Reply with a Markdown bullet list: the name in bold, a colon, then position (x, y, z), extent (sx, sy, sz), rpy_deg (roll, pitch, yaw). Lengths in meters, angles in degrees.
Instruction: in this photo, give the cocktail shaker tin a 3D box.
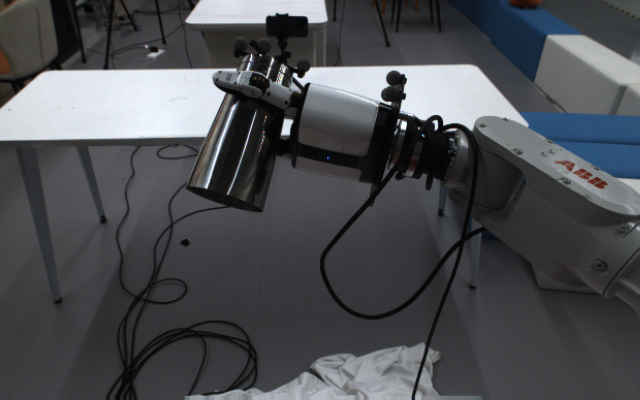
- **cocktail shaker tin**: position (-0.084, -0.082, 0.572), extent (0.093, 0.093, 0.170), rpy_deg (13, 79, 15)
